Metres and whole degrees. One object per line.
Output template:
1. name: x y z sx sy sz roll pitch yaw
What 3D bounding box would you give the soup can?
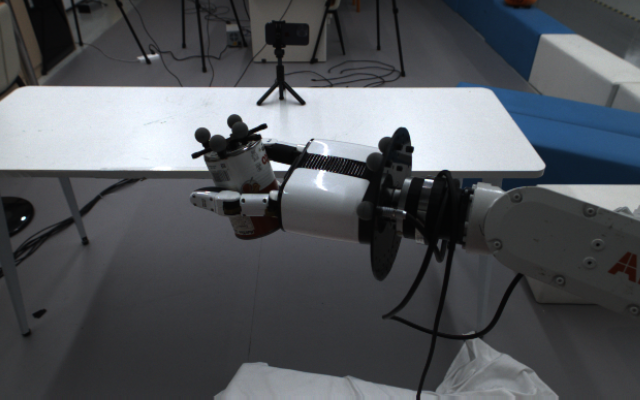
1. soup can: -0.080 -0.015 0.549 0.067 0.101 0.067 -16 23 7
